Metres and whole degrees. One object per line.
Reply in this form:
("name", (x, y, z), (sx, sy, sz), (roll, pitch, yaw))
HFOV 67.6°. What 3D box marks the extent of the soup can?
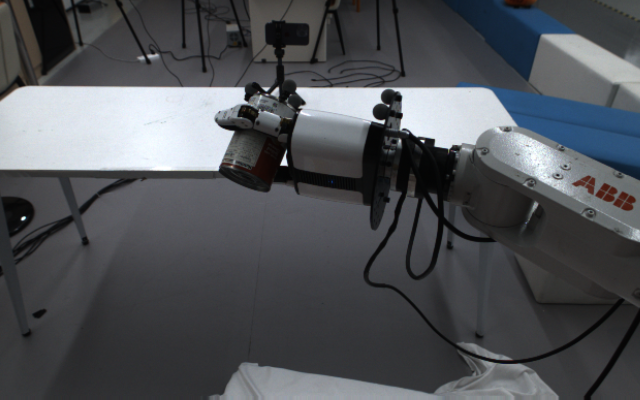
("soup can", (-0.073, -0.070, 0.590), (0.067, 0.067, 0.101), (15, 74, 18))
